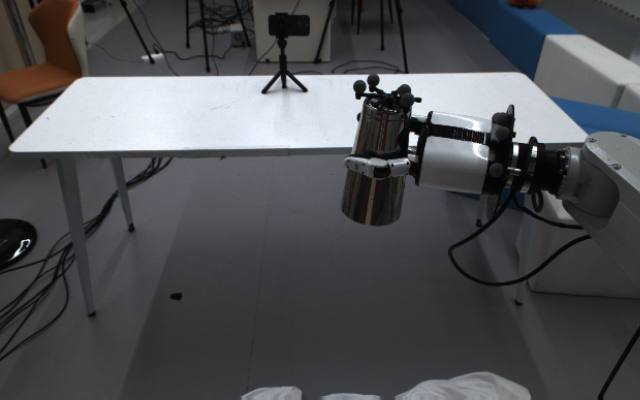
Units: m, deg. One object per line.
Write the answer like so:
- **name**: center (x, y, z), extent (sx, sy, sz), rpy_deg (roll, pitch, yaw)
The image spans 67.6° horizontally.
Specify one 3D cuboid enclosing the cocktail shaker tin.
- **cocktail shaker tin**: center (0.084, -0.060, 0.694), extent (0.093, 0.170, 0.093), rpy_deg (4, 32, -2)
